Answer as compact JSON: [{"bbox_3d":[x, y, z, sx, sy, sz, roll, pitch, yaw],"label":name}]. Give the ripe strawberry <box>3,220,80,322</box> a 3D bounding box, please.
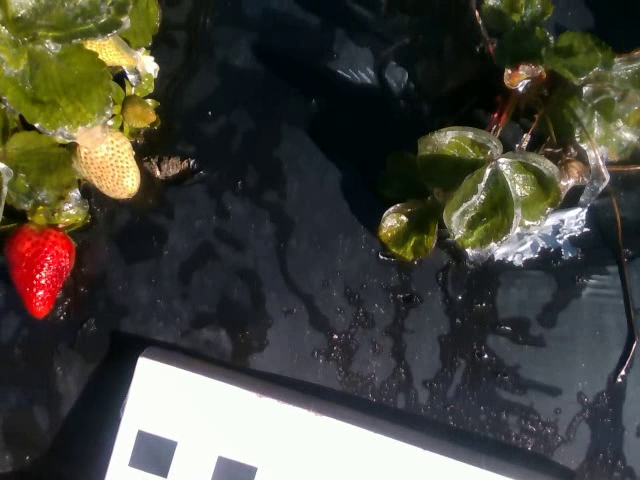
[{"bbox_3d":[-0.160,0.021,0.326,0.041,0.052,0.040,0,3,3],"label":"ripe strawberry"}]
